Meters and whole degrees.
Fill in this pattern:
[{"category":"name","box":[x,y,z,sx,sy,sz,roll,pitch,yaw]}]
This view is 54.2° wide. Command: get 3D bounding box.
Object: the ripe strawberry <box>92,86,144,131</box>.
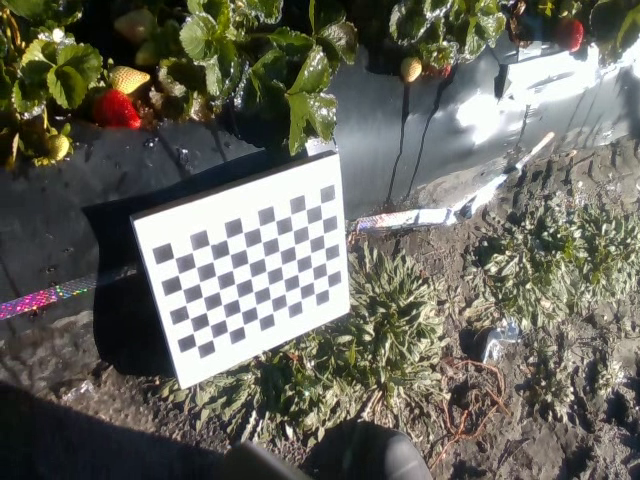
[{"category":"ripe strawberry","box":[-0.193,-0.122,0.599,0.053,0.040,0.042,34,-6,22]}]
